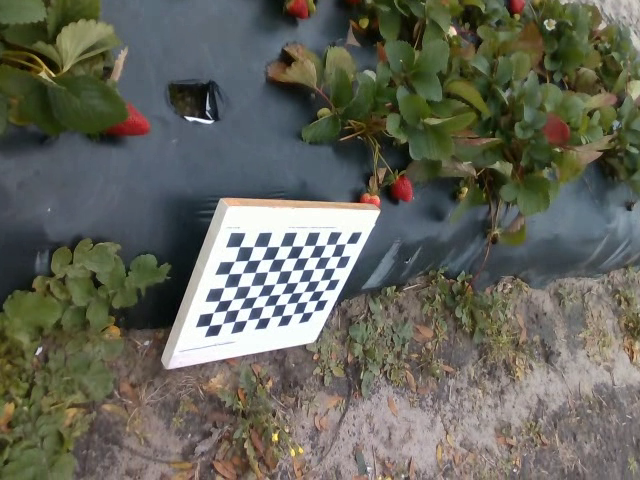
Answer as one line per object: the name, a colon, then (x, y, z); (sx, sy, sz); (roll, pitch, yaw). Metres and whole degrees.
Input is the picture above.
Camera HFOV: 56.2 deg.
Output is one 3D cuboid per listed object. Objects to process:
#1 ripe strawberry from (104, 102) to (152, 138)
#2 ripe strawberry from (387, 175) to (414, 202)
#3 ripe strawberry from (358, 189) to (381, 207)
ripe strawberry: (-0.228, -0.135, 0.684); (0.064, 0.046, 0.049); (25, 26, -17)
ripe strawberry: (0.141, -0.086, 1.000); (0.044, 0.059, 0.042); (-31, 29, -1)
ripe strawberry: (0.082, -0.056, 0.953); (0.036, 0.041, 0.027); (5, 13, -34)
